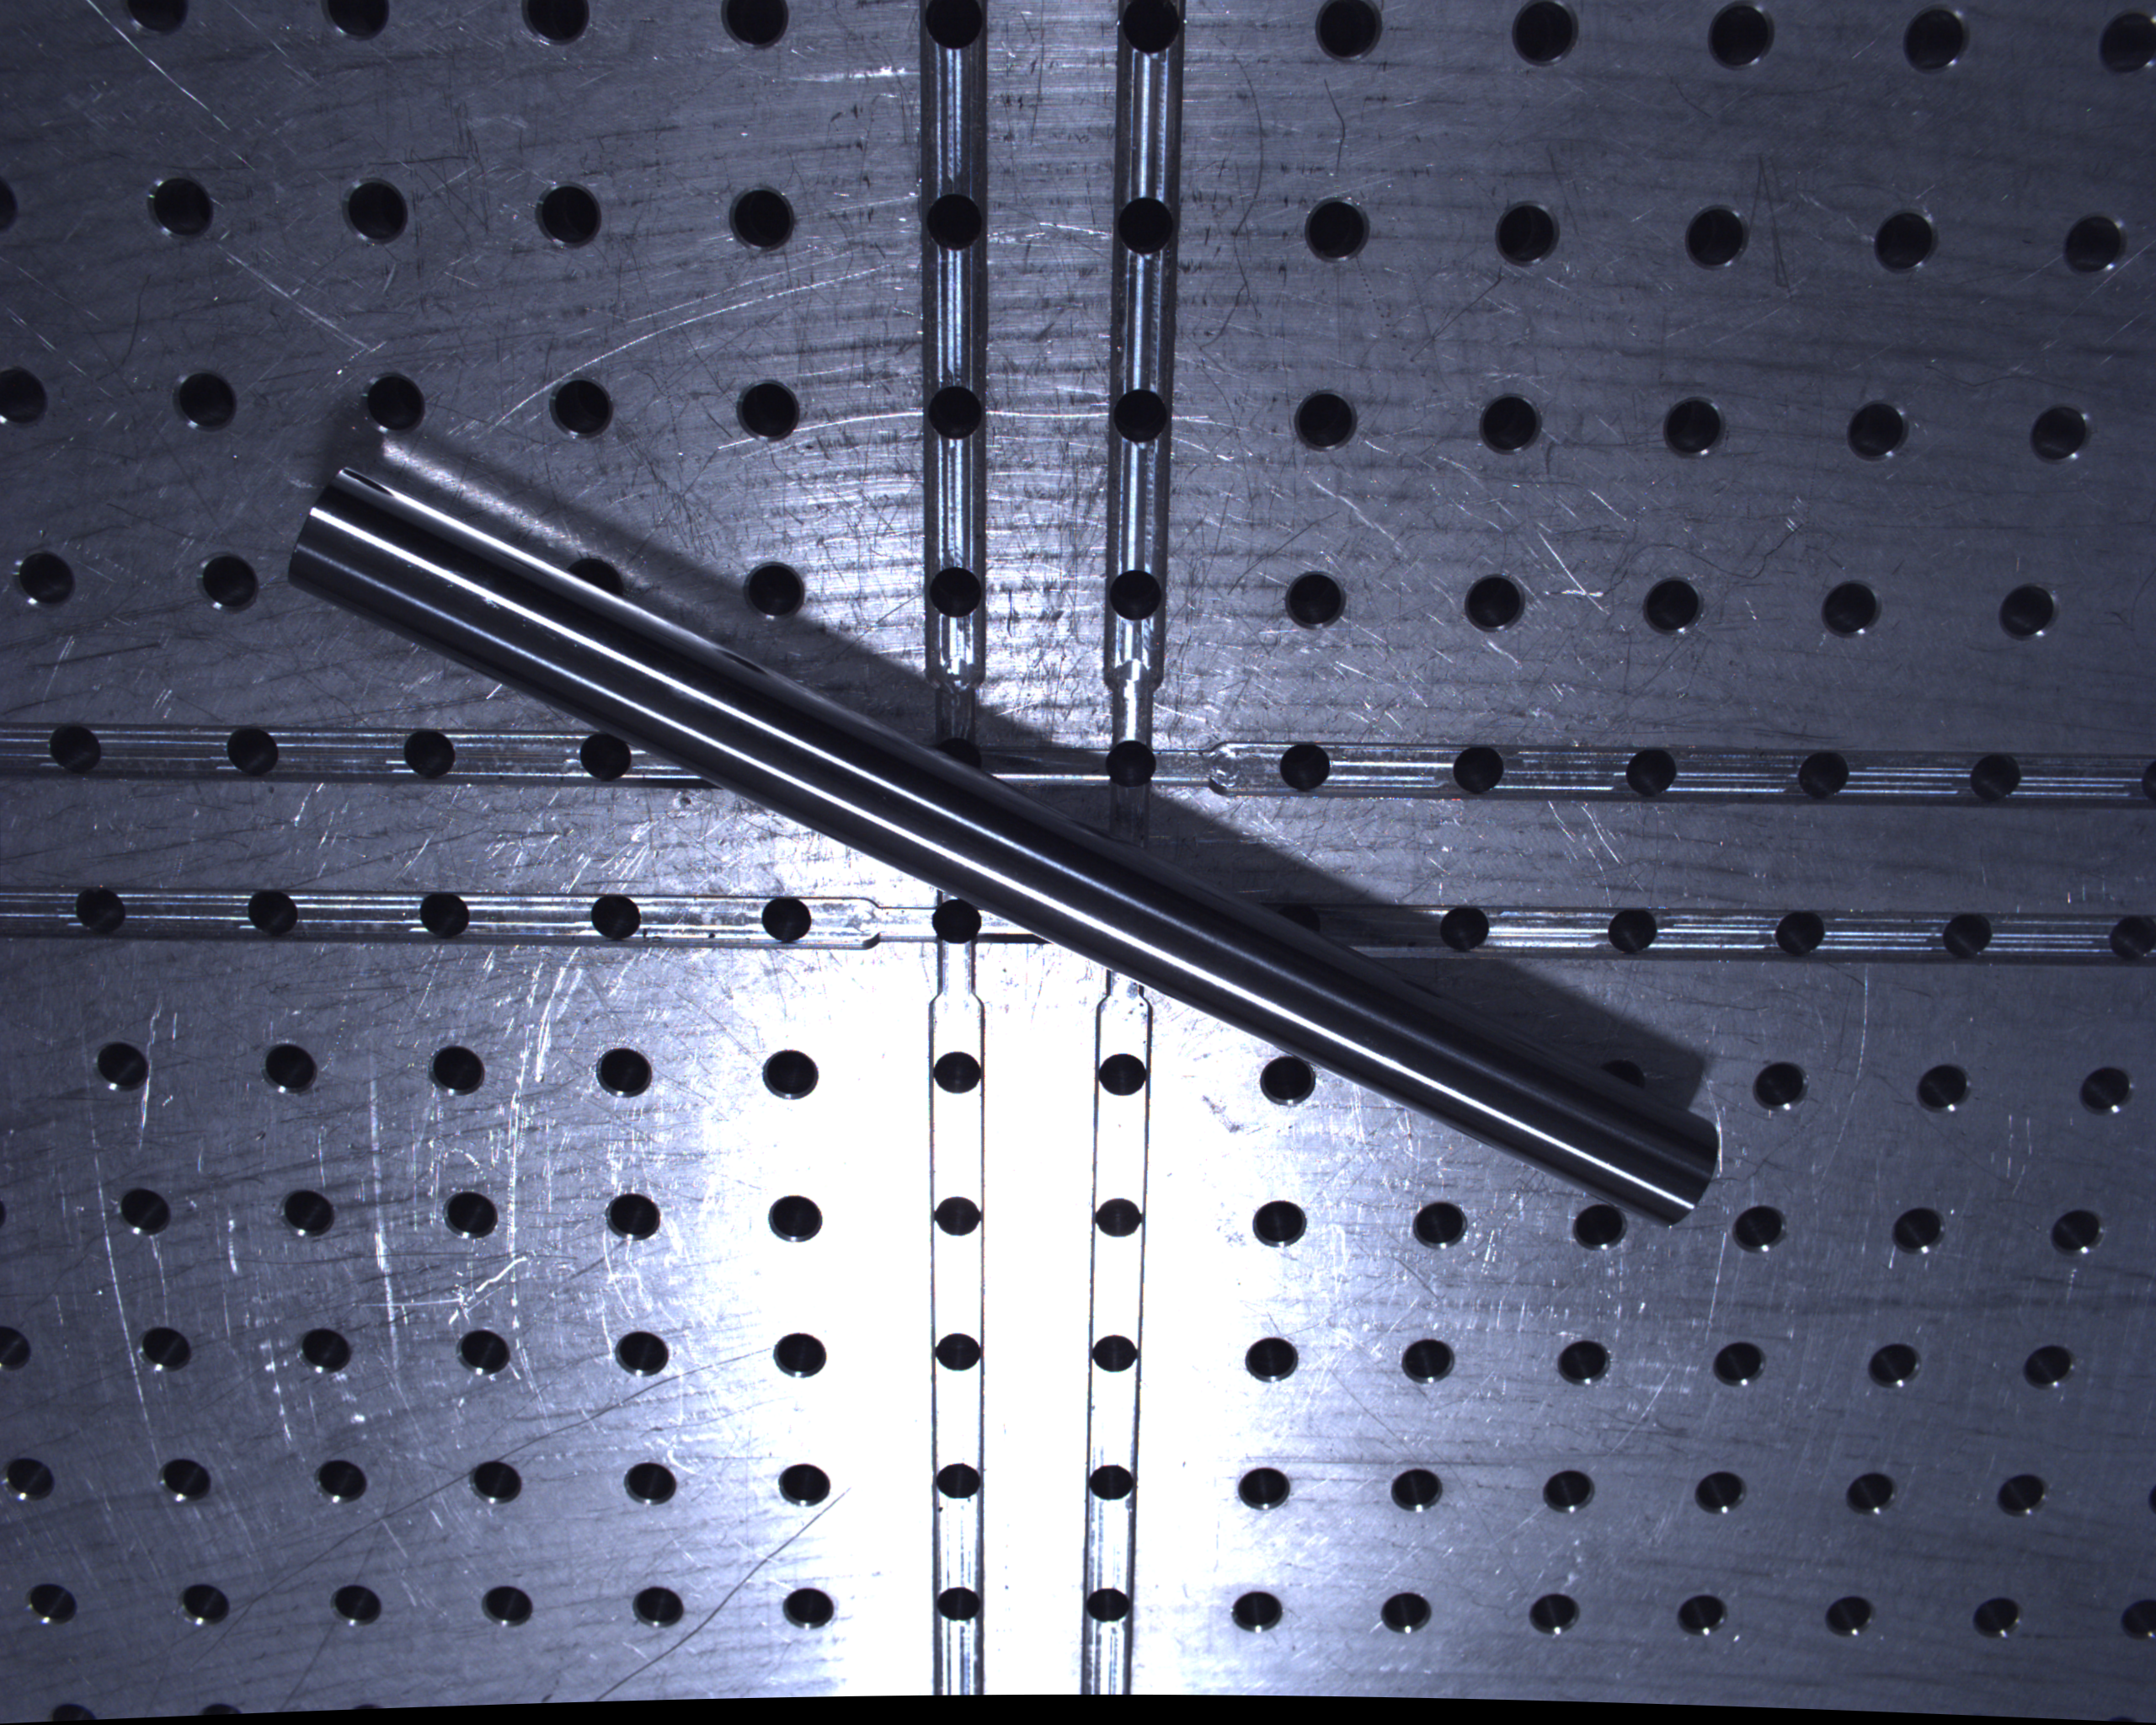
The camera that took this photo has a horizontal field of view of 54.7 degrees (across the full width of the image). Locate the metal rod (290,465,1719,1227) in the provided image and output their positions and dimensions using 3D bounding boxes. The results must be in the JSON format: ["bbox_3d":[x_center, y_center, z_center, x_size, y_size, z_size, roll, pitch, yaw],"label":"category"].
[{"bbox_3d":[-0.007,0.001,0.414,0.301,0.025,0.025,26,108,-10],"label":"metal rod"}]
